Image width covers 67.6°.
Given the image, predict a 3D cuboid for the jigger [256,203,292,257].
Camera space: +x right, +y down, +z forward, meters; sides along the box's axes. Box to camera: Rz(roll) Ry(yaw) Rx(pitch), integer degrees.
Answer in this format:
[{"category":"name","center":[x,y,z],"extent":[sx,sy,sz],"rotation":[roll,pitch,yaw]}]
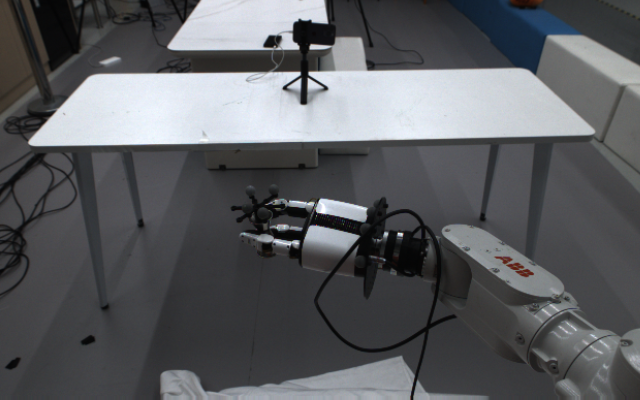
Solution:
[{"category":"jigger","center":[-0.087,0.051,0.786],"extent":[0.043,0.071,0.043],"rotation":[-8,31,5]}]
